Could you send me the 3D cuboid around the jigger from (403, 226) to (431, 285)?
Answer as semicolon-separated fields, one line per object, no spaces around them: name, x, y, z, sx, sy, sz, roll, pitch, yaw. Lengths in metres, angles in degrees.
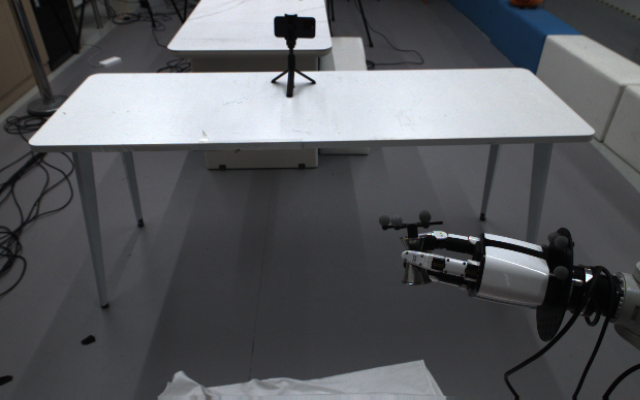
jigger;0.139;0.087;0.715;0.043;0.071;0.043;-4;1;0
